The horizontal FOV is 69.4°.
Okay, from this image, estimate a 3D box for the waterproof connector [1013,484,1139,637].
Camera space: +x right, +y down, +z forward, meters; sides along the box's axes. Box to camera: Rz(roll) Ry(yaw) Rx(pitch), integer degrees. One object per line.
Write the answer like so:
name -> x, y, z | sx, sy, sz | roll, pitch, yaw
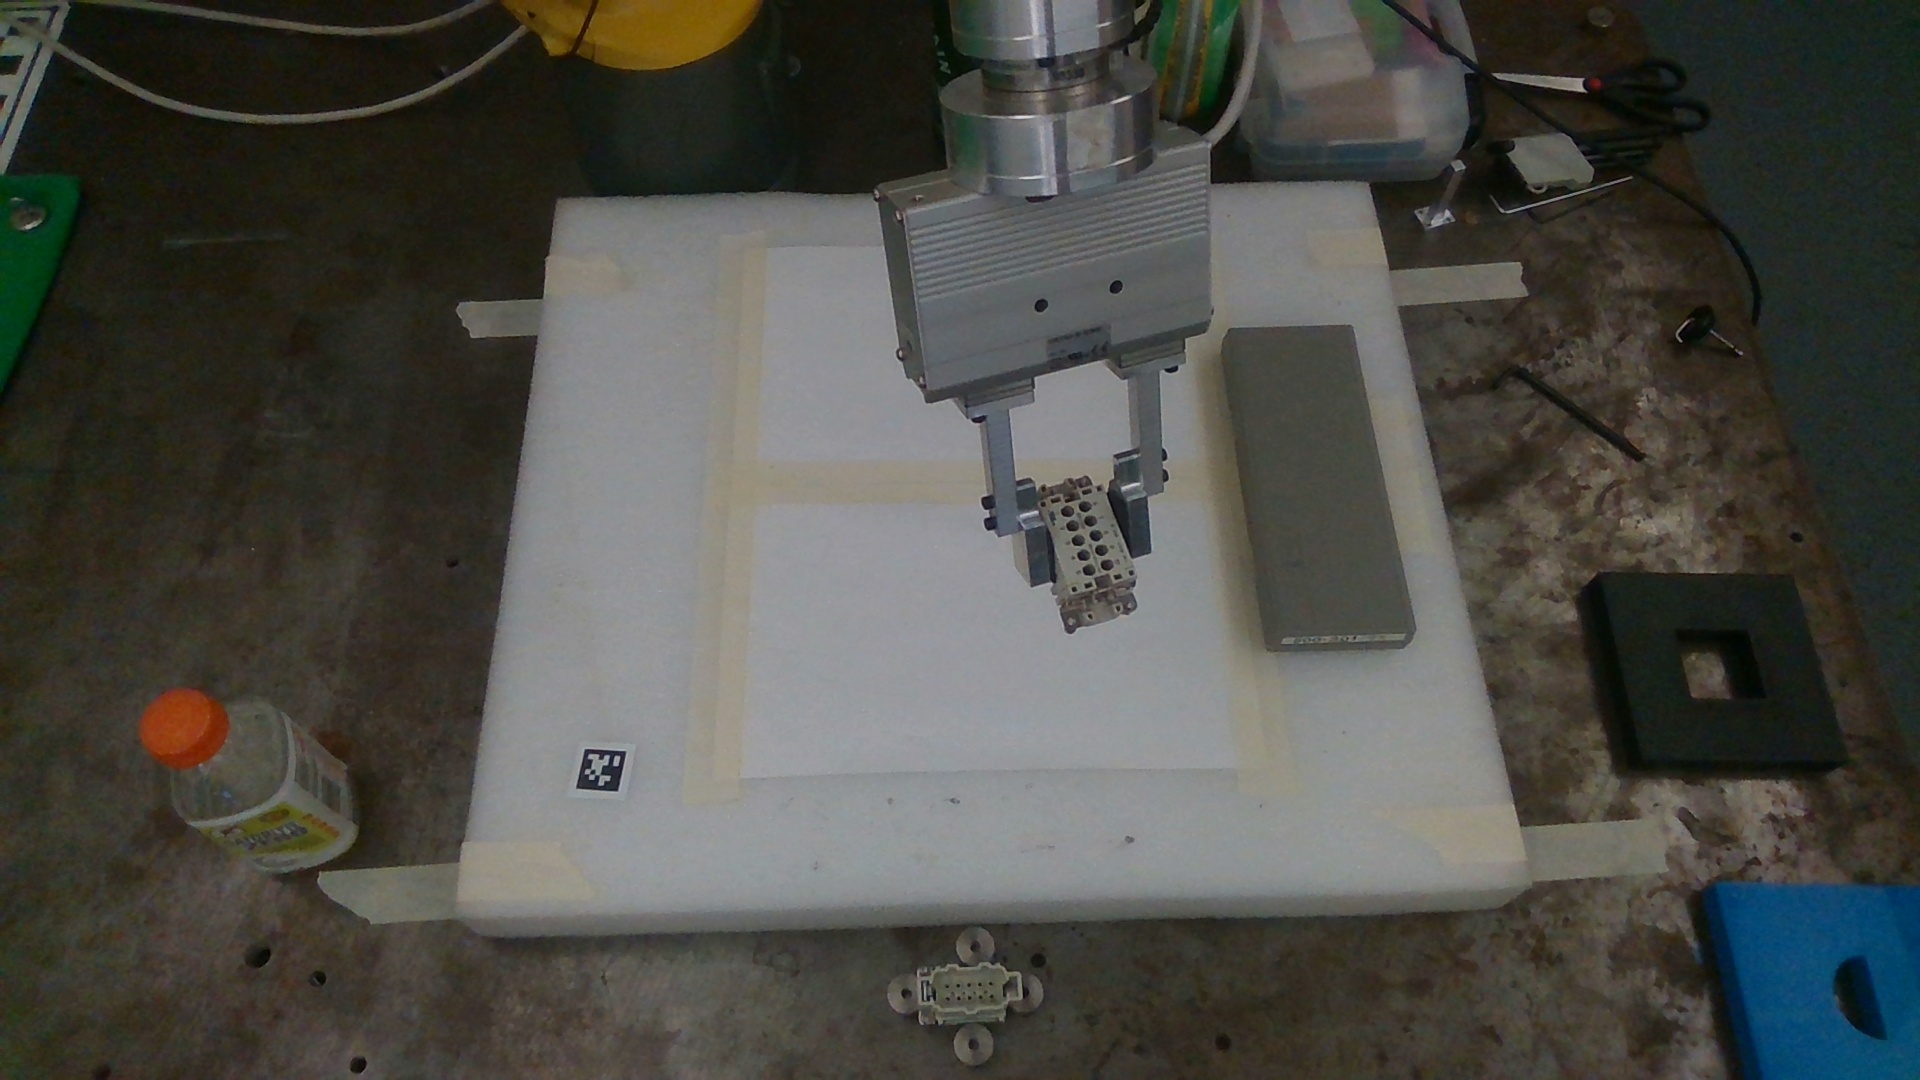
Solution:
waterproof connector -> 0.052, 0.007, 0.619 | 0.036, 0.038, 0.069 | -14, 64, -18
